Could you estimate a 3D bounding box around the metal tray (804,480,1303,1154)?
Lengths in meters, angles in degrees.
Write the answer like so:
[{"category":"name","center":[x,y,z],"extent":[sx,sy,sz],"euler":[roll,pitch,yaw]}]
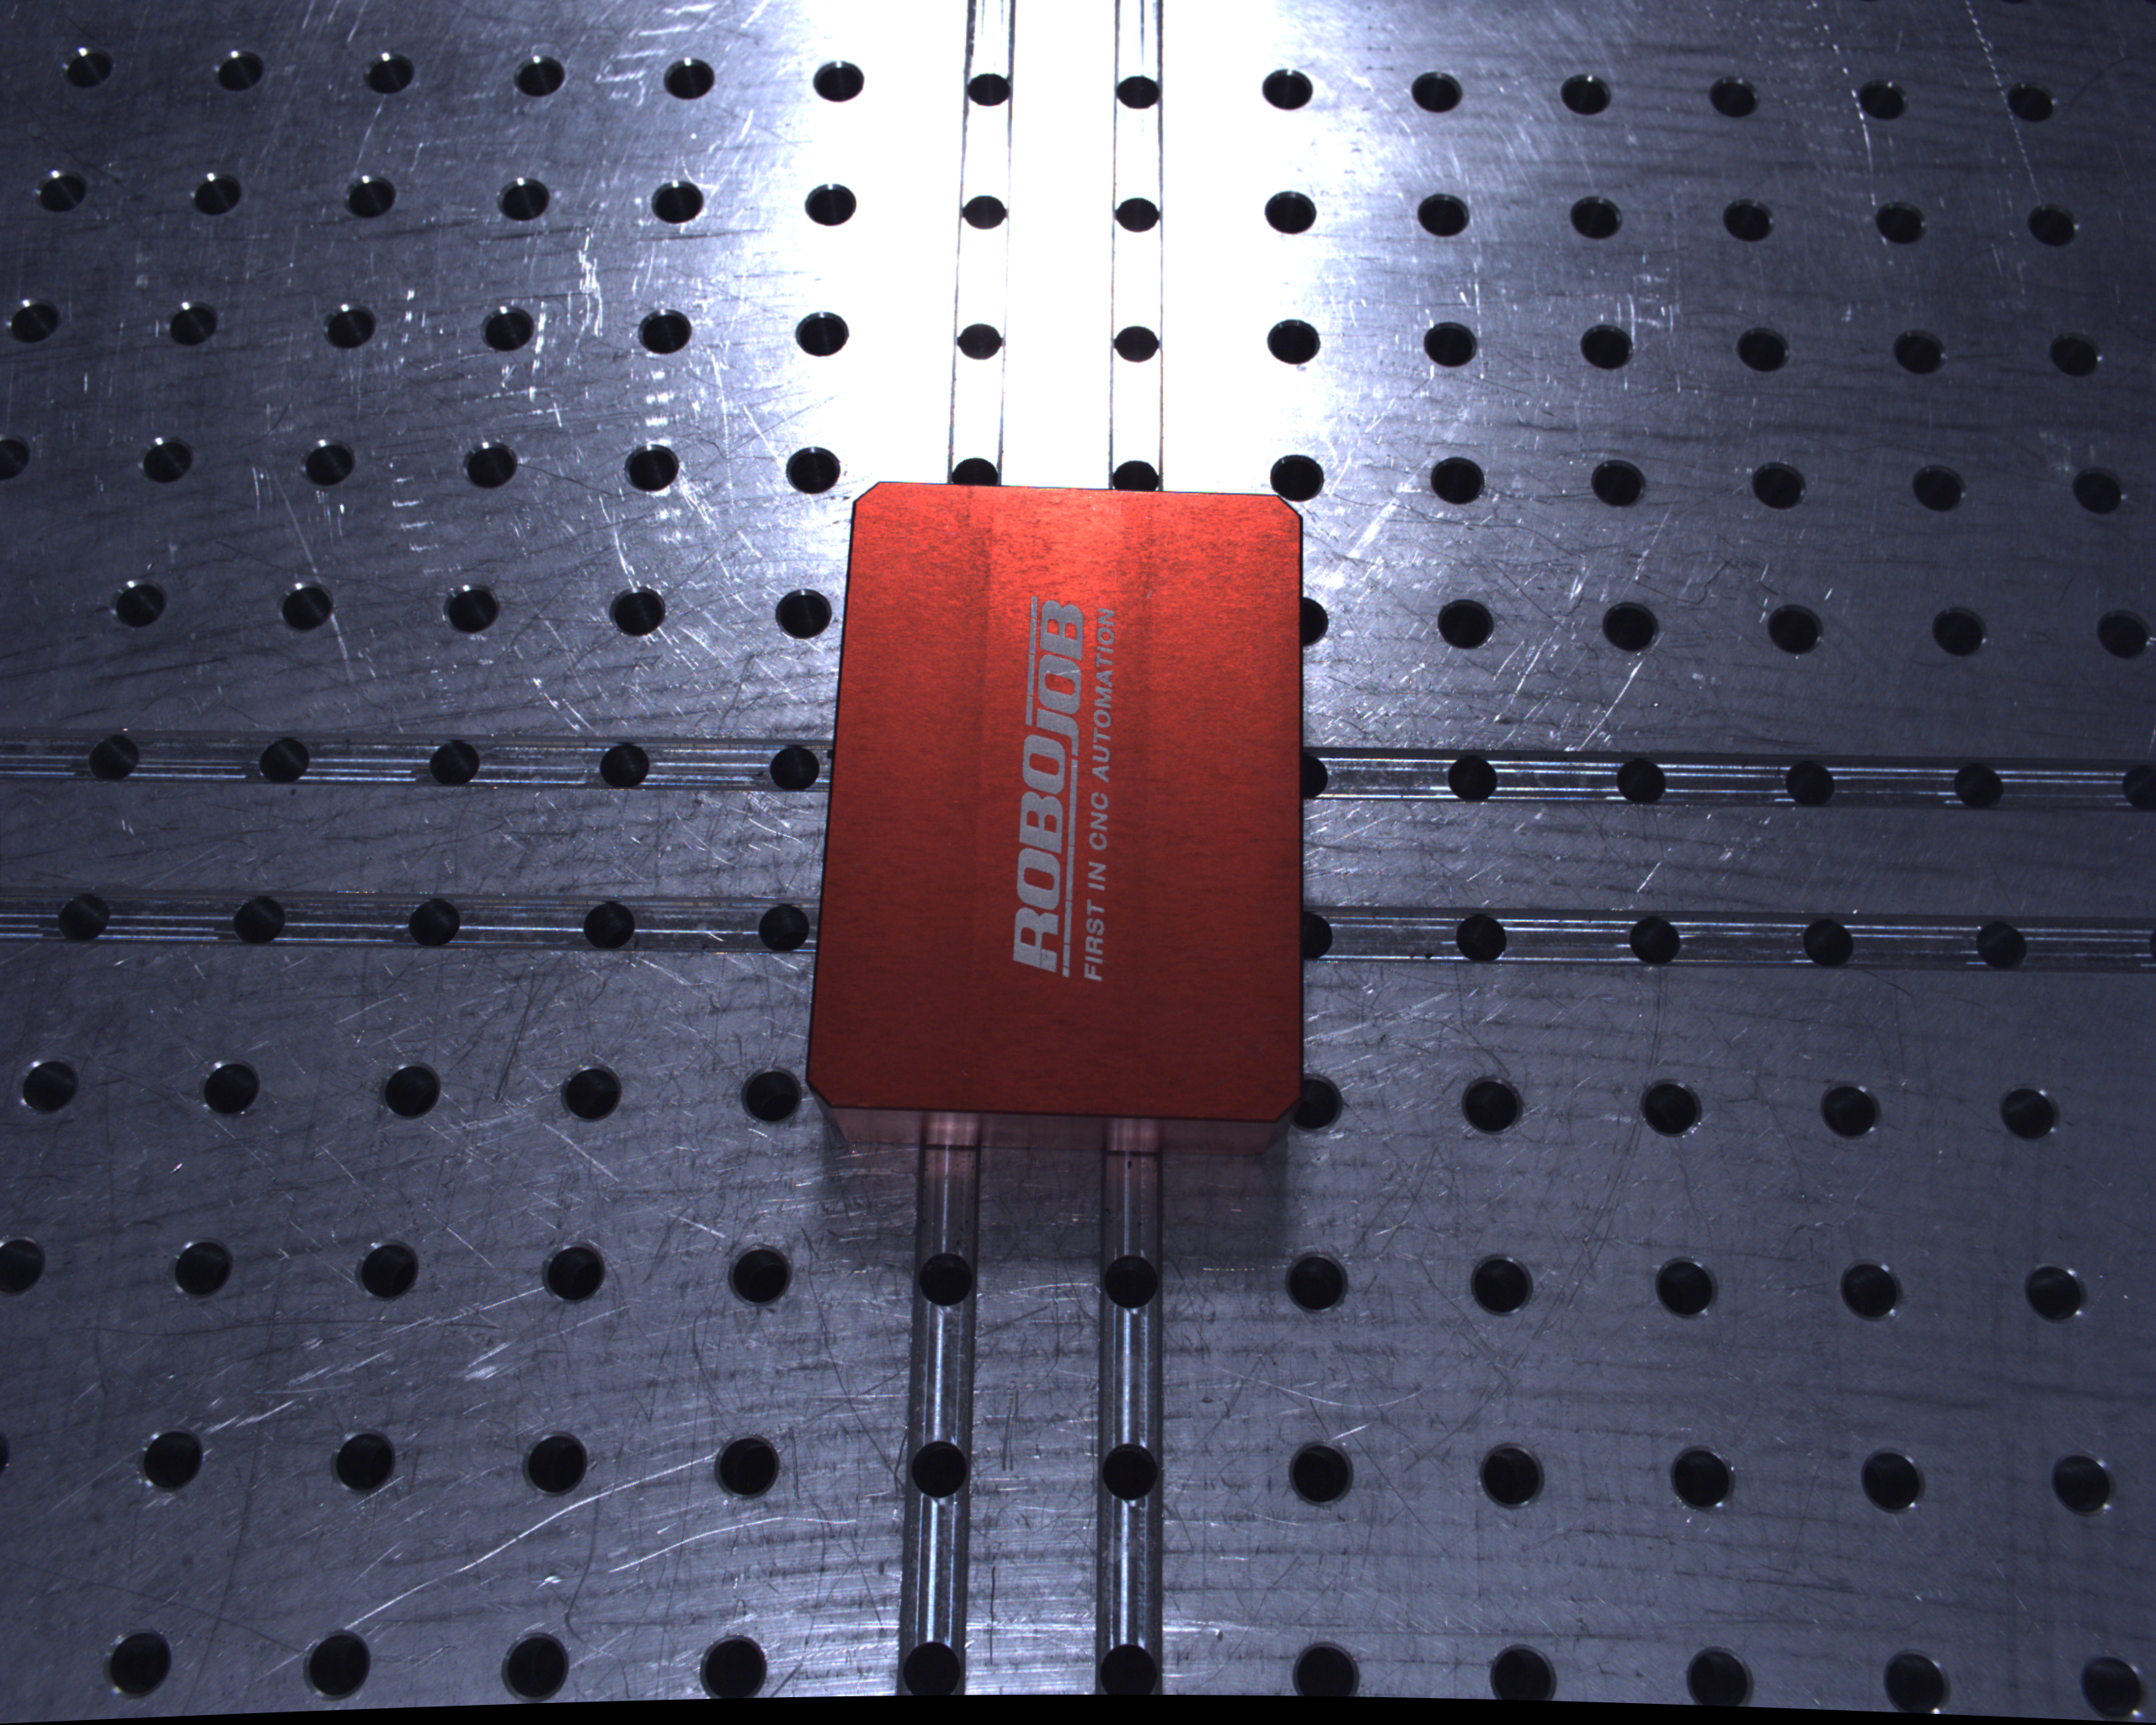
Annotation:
[{"category":"metal tray","center":[-0.002,-0.010,0.412],"extent":[0.091,0.030,0.130],"euler":[2,70,0]}]
